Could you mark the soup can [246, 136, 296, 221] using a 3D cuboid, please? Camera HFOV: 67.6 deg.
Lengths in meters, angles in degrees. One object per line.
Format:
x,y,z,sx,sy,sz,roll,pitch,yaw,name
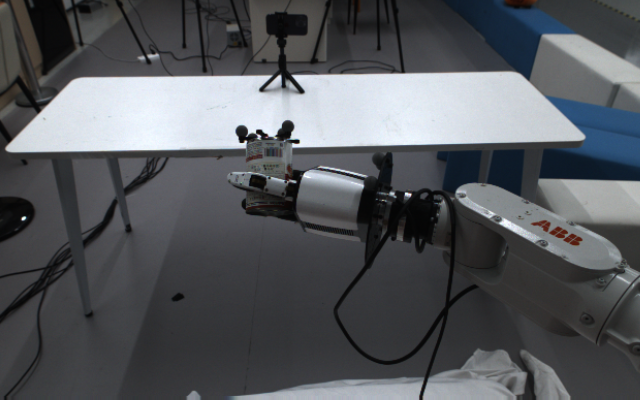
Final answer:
-0.070,-0.031,0.681,0.067,0.101,0.067,-1,-9,0,soup can
